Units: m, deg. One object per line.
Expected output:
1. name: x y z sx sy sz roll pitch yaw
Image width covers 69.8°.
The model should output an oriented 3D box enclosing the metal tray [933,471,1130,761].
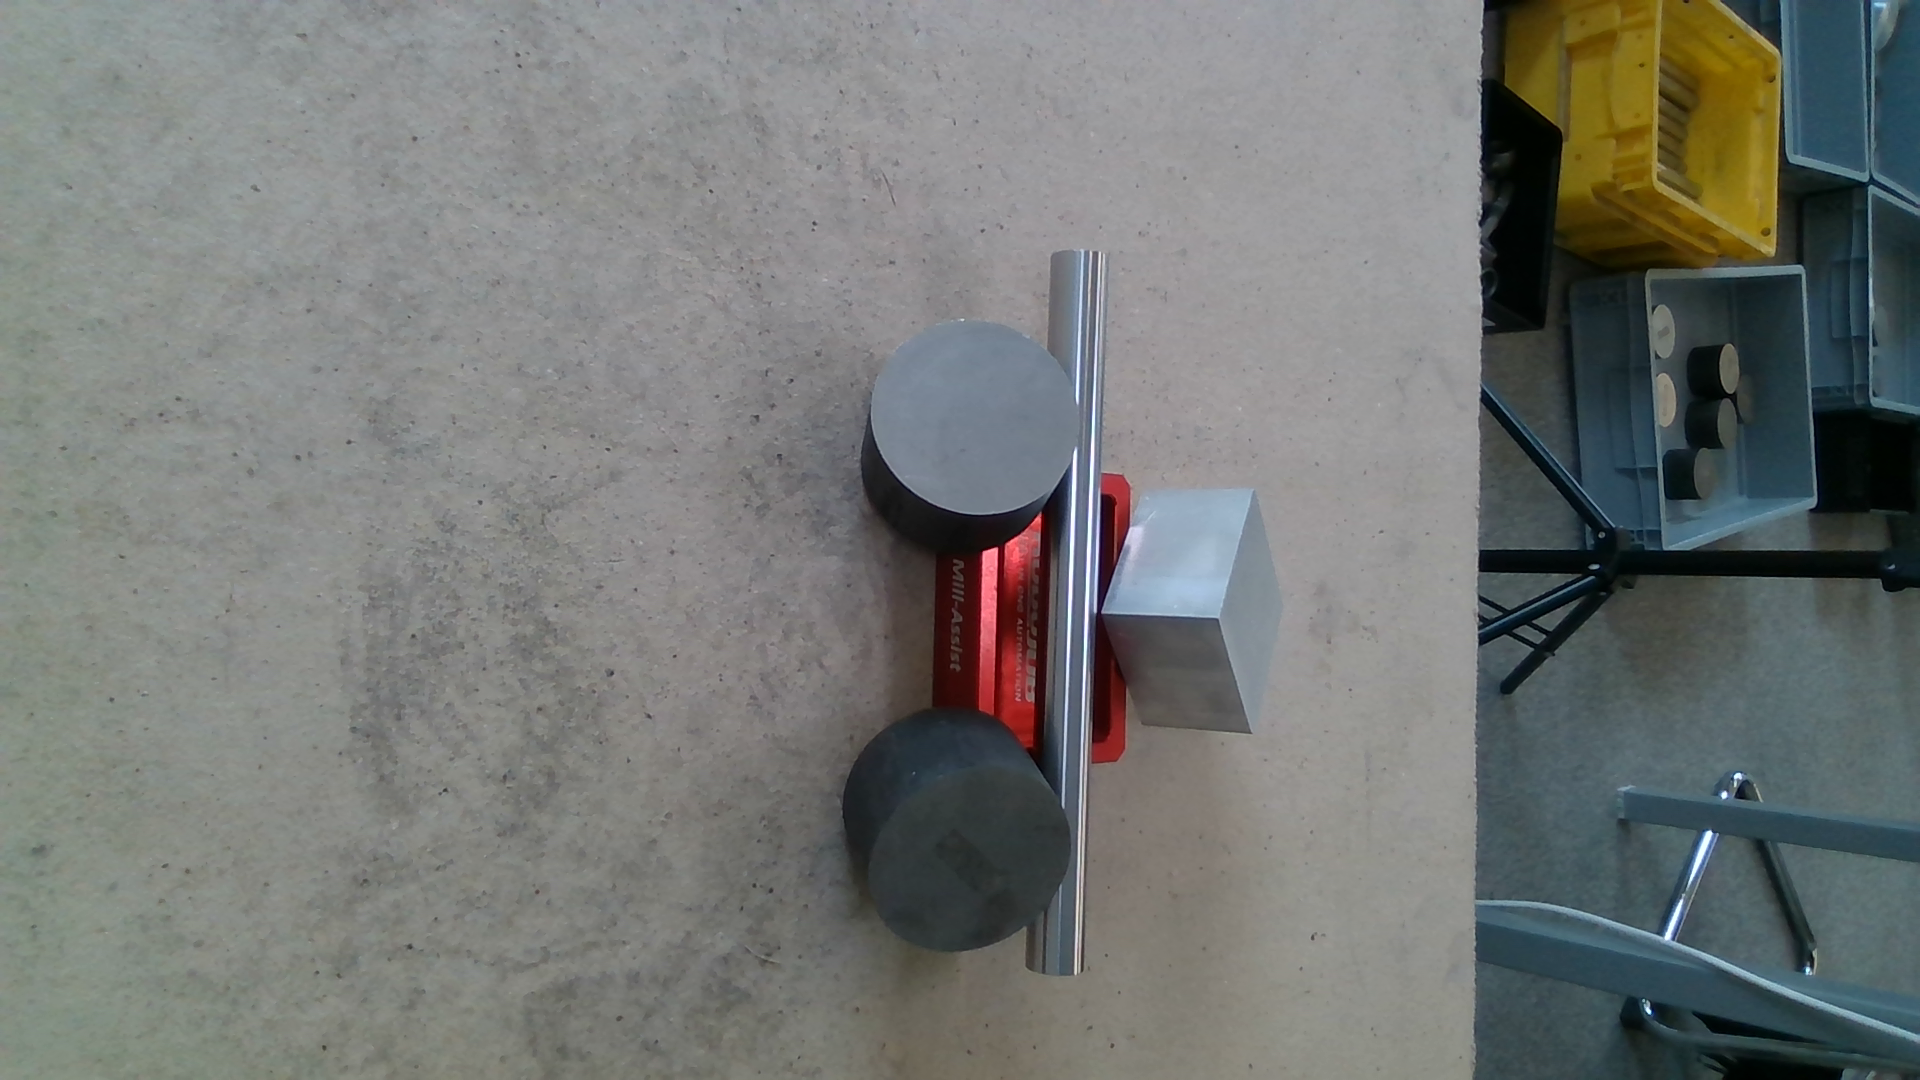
1. metal tray: 0.033 0.033 0.609 0.090 0.030 0.130 2 89 -40

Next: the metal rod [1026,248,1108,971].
1. metal rod: 0.045 0.028 0.583 0.025 0.025 0.300 4 88 -40

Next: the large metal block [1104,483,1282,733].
1. large metal block: 0.110 0.031 0.632 0.080 0.050 0.080 -66 145 -39

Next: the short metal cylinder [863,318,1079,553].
1. short metal cylinder: 0.003 -0.041 0.545 0.080 0.050 0.080 3 72 -8

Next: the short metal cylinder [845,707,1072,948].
1. short metal cylinder: -0.002 0.113 0.544 0.080 0.050 0.080 -6 111 -16
